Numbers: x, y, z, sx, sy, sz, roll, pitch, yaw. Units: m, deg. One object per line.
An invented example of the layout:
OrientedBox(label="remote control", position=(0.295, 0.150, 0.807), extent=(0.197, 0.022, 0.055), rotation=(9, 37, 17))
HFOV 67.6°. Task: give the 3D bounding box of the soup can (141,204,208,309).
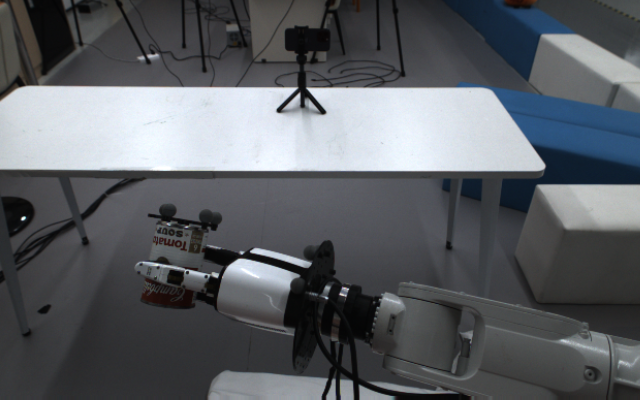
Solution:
OrientedBox(label="soup can", position=(-0.182, 0.083, 0.616), extent=(0.067, 0.101, 0.067), rotation=(9, -5, 1))
